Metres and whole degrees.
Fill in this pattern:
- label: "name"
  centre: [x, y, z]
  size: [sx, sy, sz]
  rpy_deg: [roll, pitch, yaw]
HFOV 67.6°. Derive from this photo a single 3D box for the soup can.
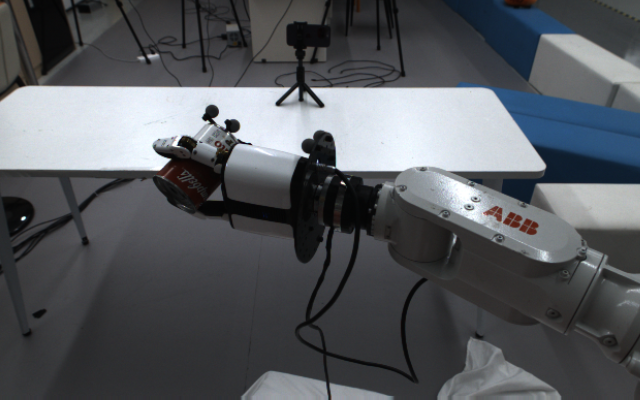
- label: "soup can"
  centre: [-0.153, -0.041, 0.618]
  size: [0.067, 0.067, 0.101]
  rpy_deg: [23, 61, 27]
